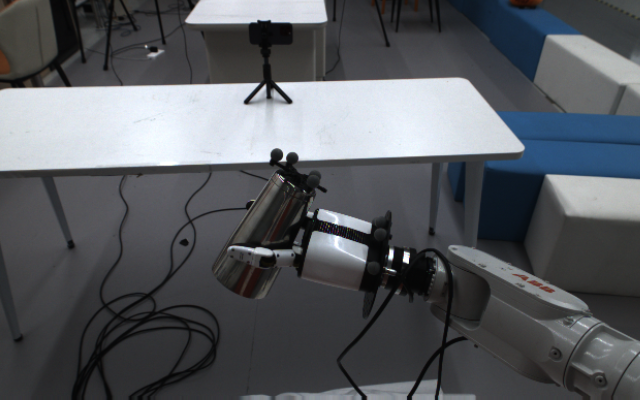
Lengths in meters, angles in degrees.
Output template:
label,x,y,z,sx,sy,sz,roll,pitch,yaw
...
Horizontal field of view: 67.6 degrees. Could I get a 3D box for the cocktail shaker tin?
label,x,y,z,sx,sy,sz,roll,pitch,yaw
cocktail shaker tin,-0.074,0.041,0.687,0.093,0.170,0.093,28,14,-8
